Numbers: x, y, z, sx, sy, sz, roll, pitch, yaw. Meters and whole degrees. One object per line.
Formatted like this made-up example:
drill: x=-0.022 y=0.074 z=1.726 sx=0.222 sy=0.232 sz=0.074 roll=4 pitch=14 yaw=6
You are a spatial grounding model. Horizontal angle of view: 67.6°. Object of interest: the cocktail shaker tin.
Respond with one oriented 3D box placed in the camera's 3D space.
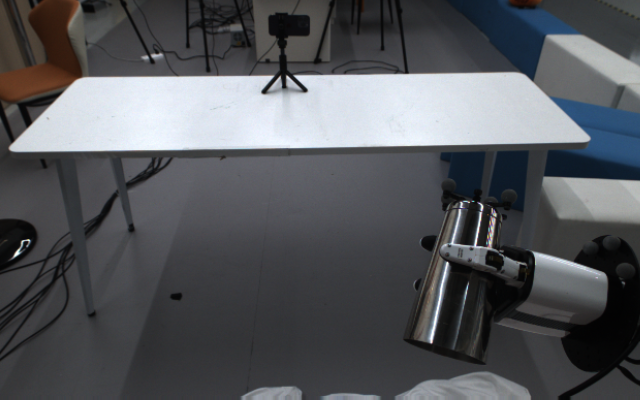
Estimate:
cocktail shaker tin: x=0.162 y=0.091 z=0.557 sx=0.093 sy=0.093 sz=0.170 roll=13 pitch=70 yaw=15
